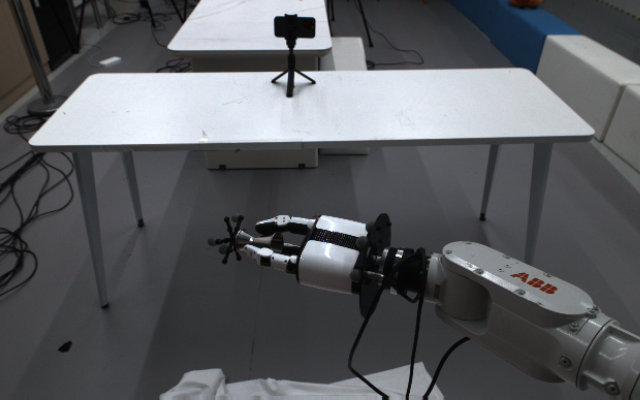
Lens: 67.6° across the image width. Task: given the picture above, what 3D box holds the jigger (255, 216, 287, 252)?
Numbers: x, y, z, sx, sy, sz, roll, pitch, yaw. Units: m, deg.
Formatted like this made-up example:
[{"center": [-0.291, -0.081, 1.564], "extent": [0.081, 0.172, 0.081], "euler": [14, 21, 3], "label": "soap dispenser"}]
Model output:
[{"center": [-0.091, 0.063, 0.789], "extent": [0.071, 0.043, 0.043], "euler": [4, 33, 24], "label": "jigger"}]
